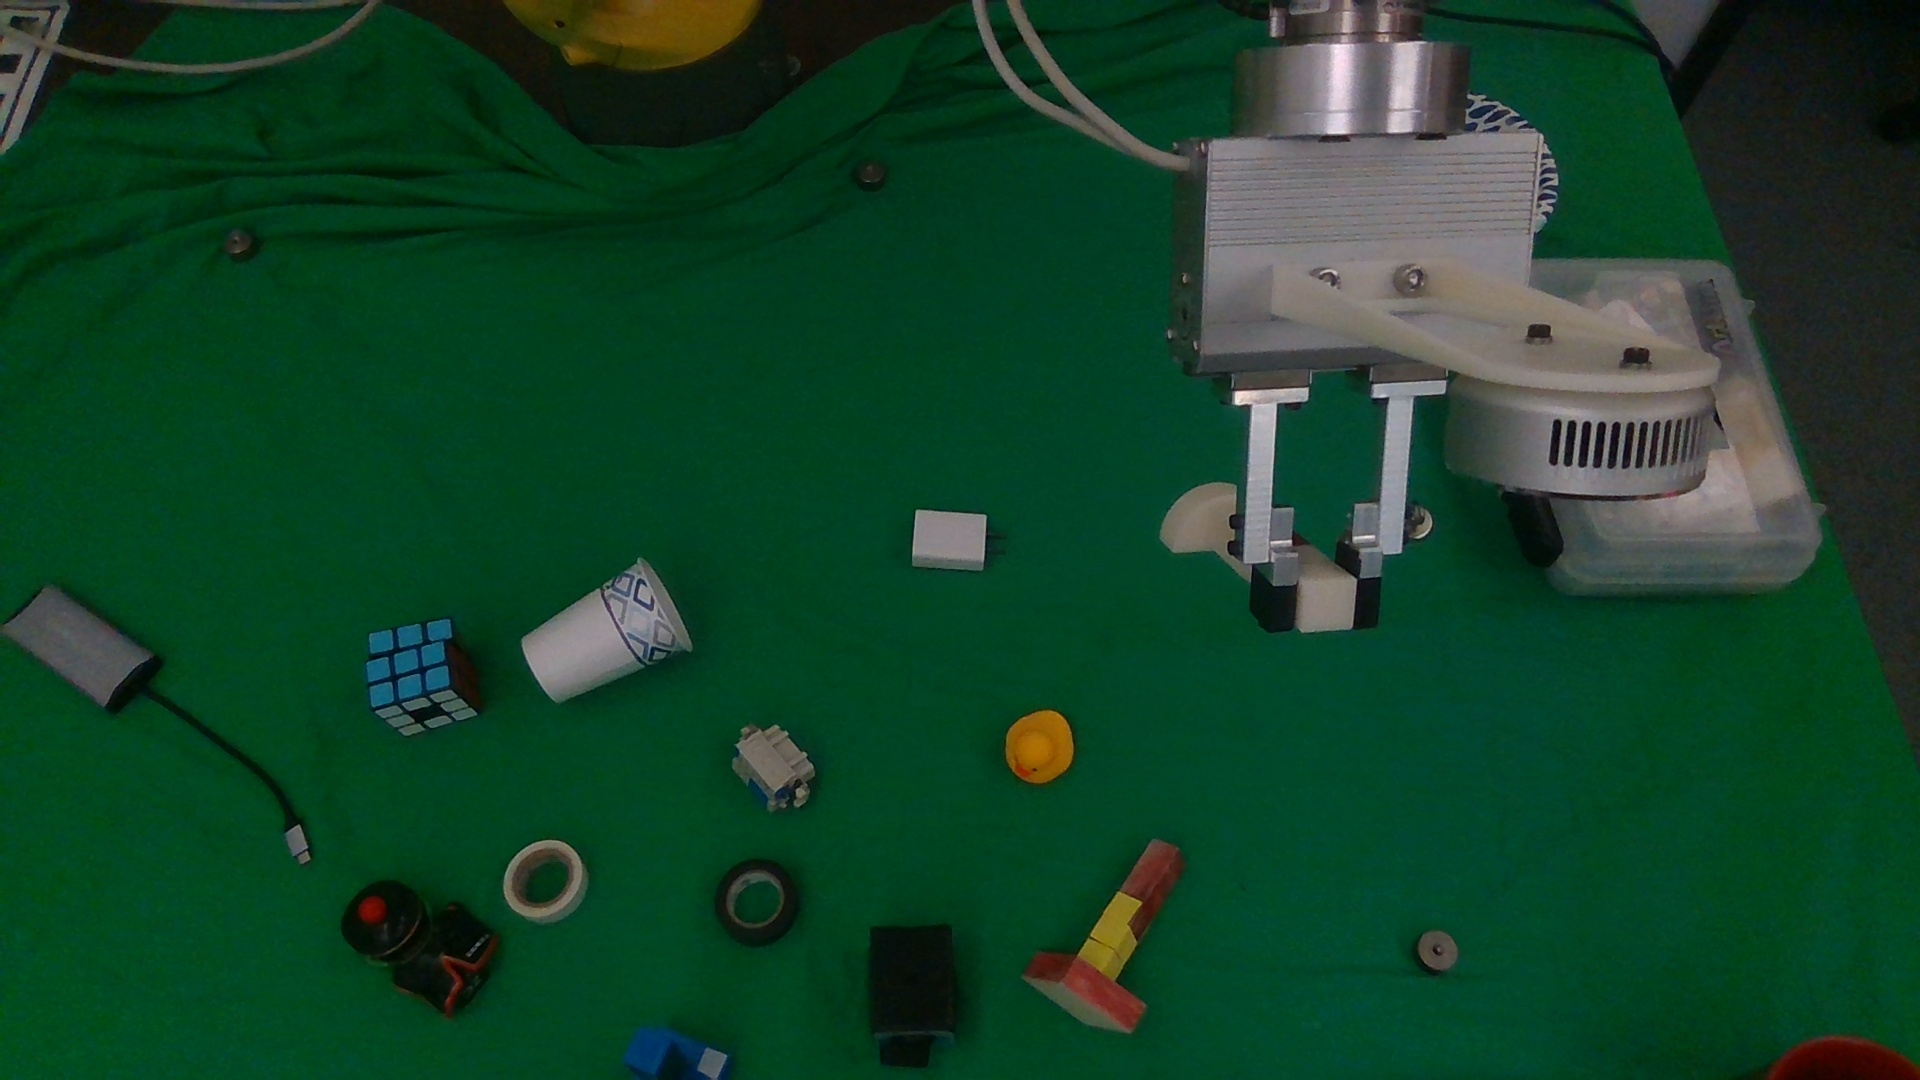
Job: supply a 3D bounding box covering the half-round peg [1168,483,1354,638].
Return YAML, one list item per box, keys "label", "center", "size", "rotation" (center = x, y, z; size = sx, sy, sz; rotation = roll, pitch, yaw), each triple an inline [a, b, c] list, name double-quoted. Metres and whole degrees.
- label: "half-round peg"
  center: [0.126, 0.007, 0.558]
  size: [0.054, 0.031, 0.122]
  rotation: [-4, 18, -8]

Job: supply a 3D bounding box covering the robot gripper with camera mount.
- label: "robot gripper with camera mount"
  center: [0.152, -0.023, 0.410]
  size: [0.119, 0.158, 0.193]
  rotation: [-5, 18, -11]
